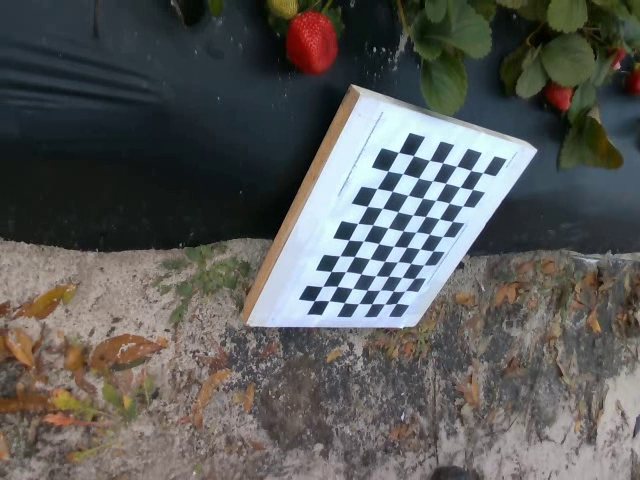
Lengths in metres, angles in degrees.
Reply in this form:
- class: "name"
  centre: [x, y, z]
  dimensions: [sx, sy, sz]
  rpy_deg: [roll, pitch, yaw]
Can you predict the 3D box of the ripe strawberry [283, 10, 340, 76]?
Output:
- class: "ripe strawberry"
  centre: [-0.006, -0.167, 0.540]
  dimensions: [0.057, 0.065, 0.056]
  rpy_deg: [-14, -43, 1]
